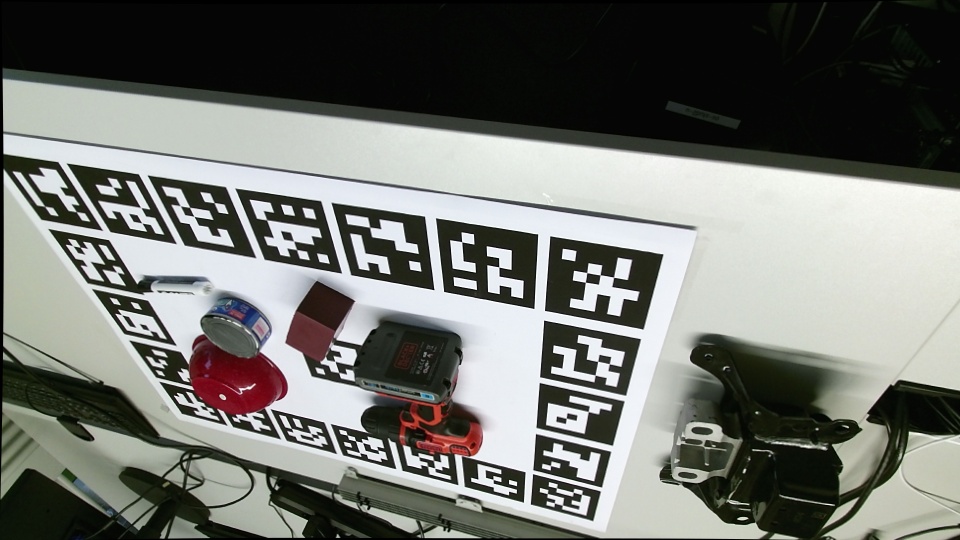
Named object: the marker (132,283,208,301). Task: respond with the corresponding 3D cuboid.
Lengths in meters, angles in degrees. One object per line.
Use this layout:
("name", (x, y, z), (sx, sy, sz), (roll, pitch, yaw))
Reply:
("marker", (-0.417, 0.030, 0.717), (0.121, 0.019, 0.019), (2, 128, 20))

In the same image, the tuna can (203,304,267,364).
("tuna can", (-0.335, 0.087, 0.727), (0.086, 0.033, 0.086), (12, 133, 14))

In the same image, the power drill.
("power drill", (-0.086, 0.171, 0.697), (0.185, 0.057, 0.187), (11, 135, 16))

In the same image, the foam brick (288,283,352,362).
("foam brick", (-0.198, 0.065, 0.653), (0.051, 0.052, 0.078), (28, 132, -3))

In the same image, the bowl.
("bowl", (-0.380, 0.177, 0.823), (0.162, 0.055, 0.162), (9, 139, 8))
